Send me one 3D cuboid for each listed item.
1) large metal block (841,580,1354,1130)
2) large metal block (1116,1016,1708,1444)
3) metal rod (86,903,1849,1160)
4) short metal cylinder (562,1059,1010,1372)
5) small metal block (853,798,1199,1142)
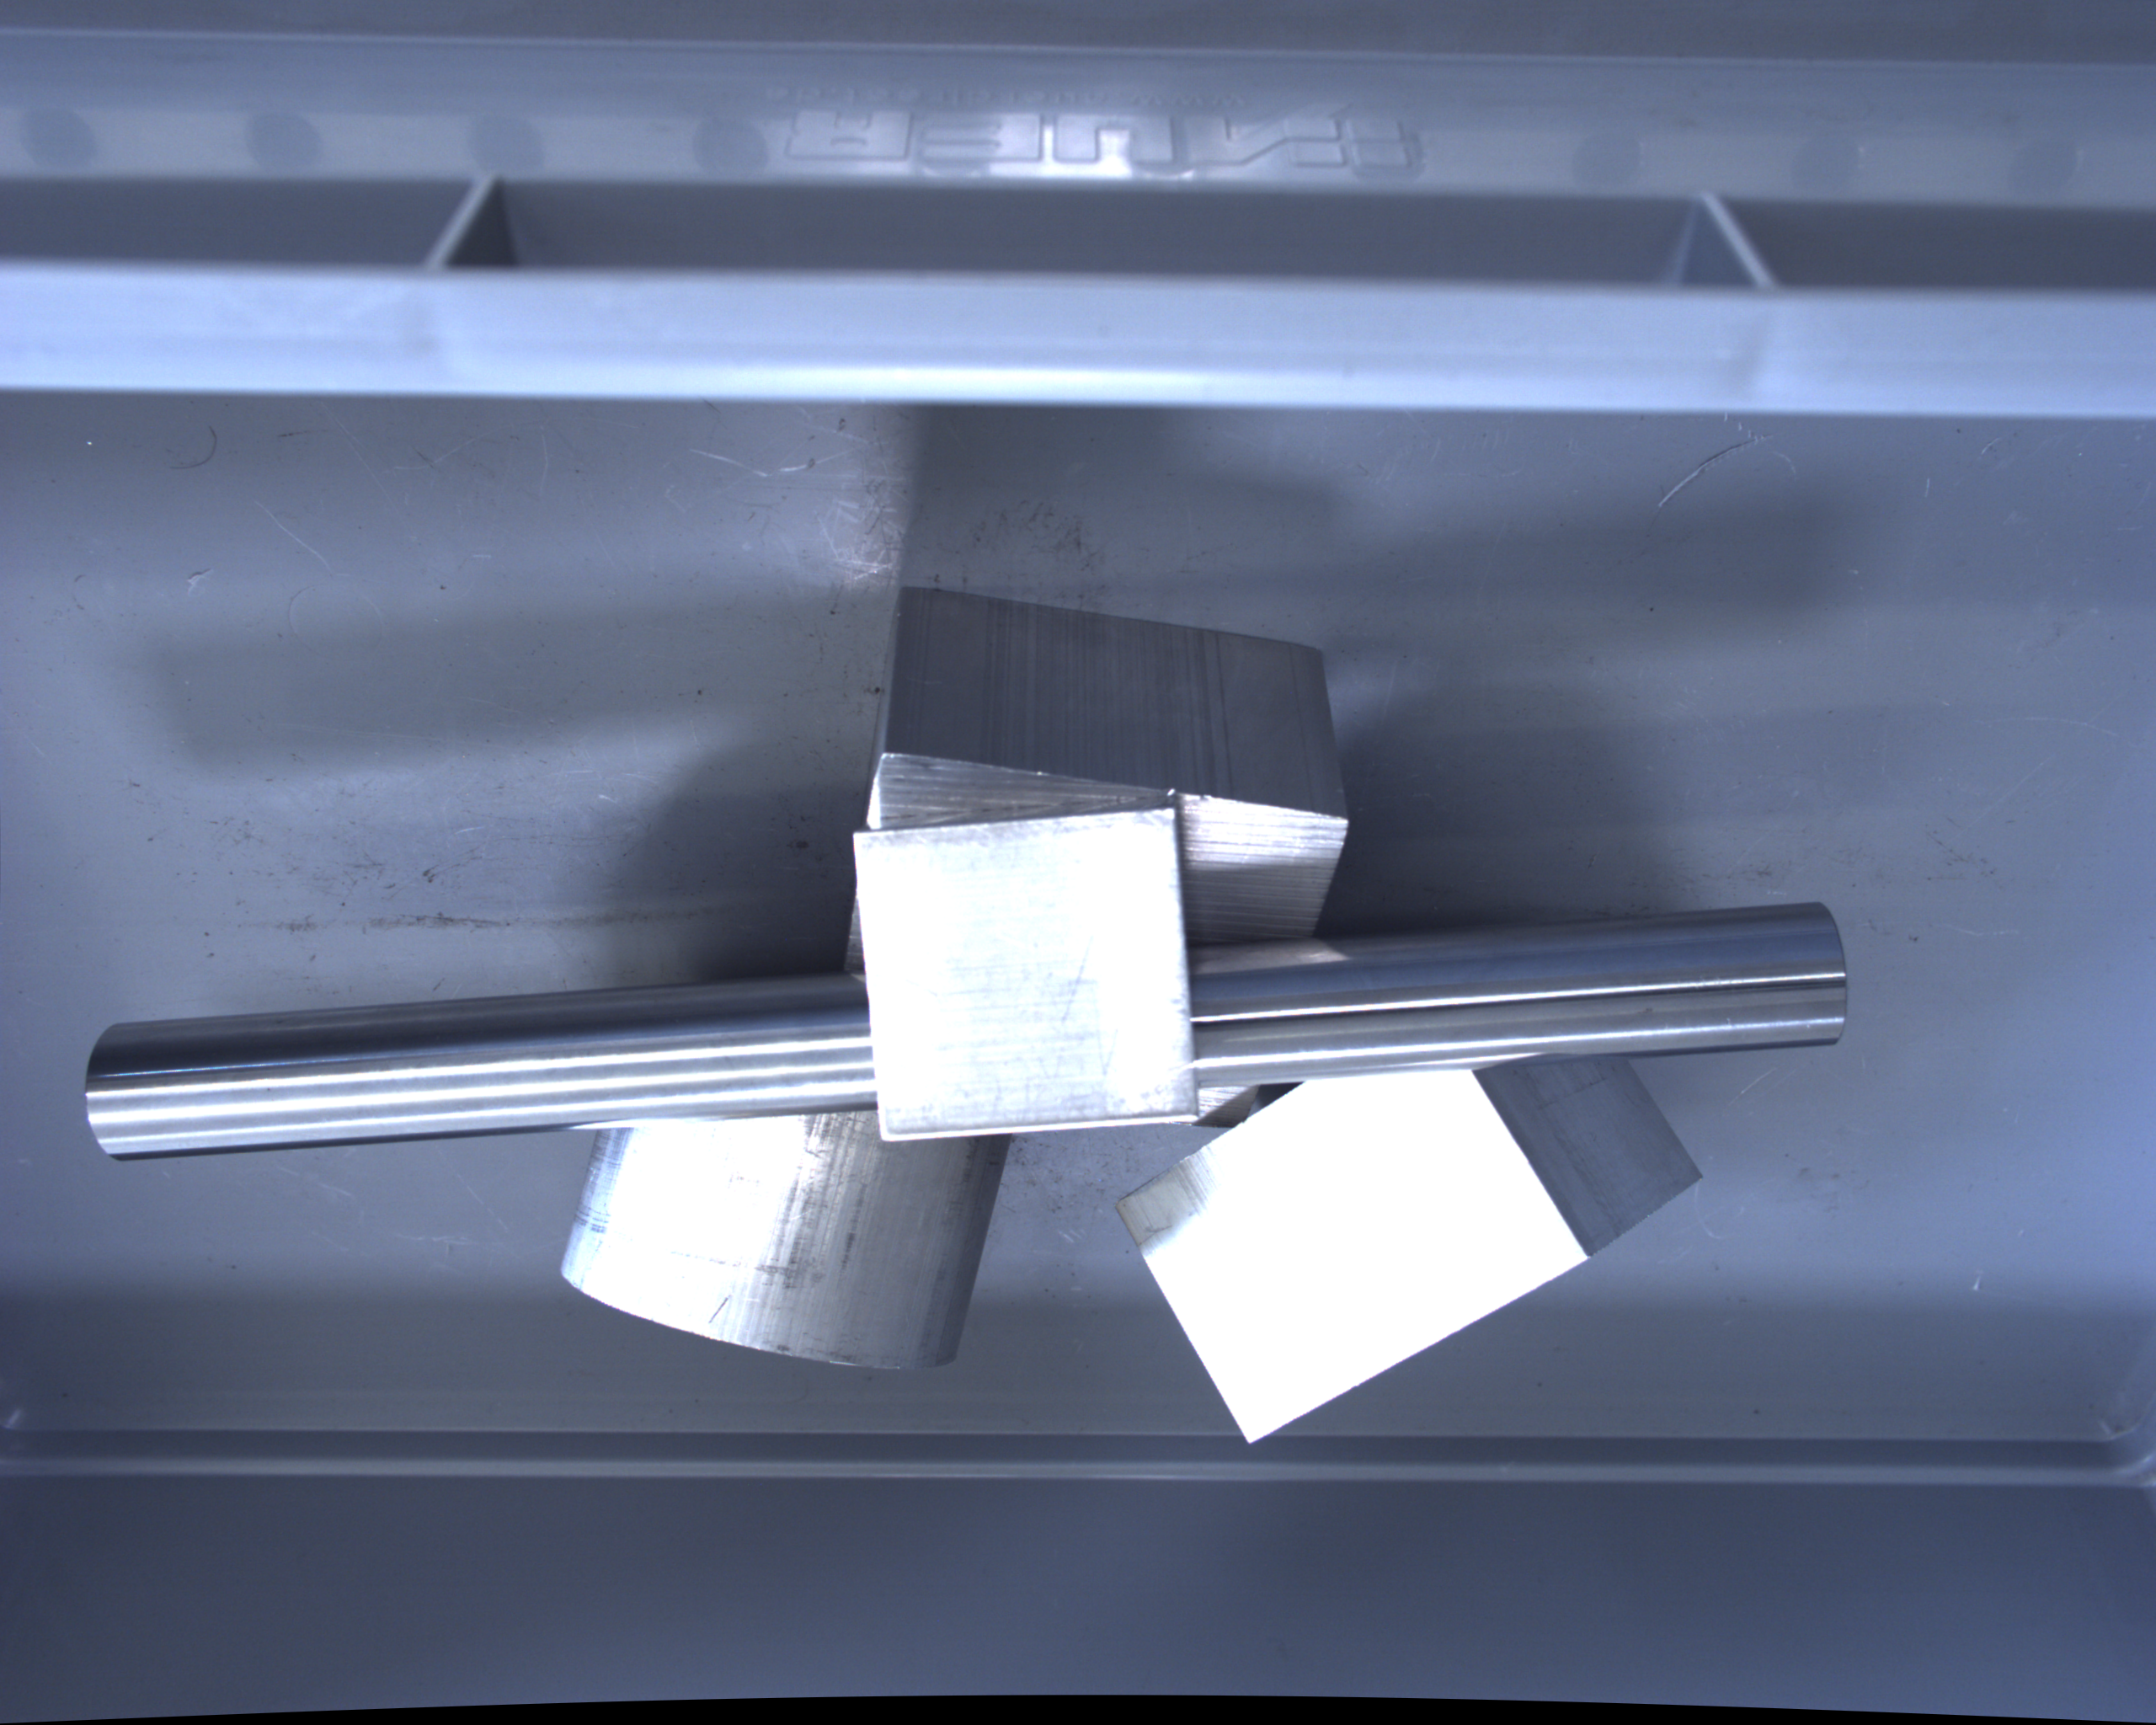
[{"bbox_3d":[-0.001,0.000,0.390,0.081,0.050,0.079,8,130,-7],"label":"large metal block"},{"bbox_3d":[0.069,0.066,0.419,0.080,0.050,0.080,-37,165,27],"label":"large metal block"},{"bbox_3d":[-0.022,0.030,0.367,0.302,0.025,0.025,-4,130,3],"label":"metal rod"},{"bbox_3d":[-0.057,0.066,0.418,0.081,0.080,0.050,15,86,-13],"label":"short metal cylinder"},{"bbox_3d":[-0.007,0.017,0.340,0.050,0.025,0.050,-4,95,3],"label":"small metal block"}]
